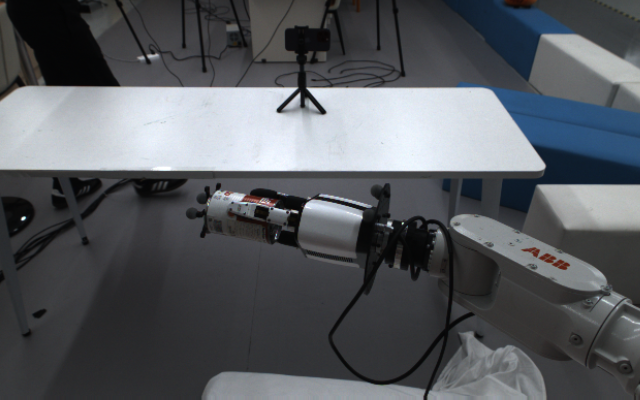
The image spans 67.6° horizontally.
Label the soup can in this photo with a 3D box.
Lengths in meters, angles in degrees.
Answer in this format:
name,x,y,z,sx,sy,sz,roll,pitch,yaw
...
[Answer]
name,x,y,z,sx,sy,sz,roll,pitch,yaw
soup can,-0.110,0.026,0.721,0.101,0.067,0.067,9,35,11
